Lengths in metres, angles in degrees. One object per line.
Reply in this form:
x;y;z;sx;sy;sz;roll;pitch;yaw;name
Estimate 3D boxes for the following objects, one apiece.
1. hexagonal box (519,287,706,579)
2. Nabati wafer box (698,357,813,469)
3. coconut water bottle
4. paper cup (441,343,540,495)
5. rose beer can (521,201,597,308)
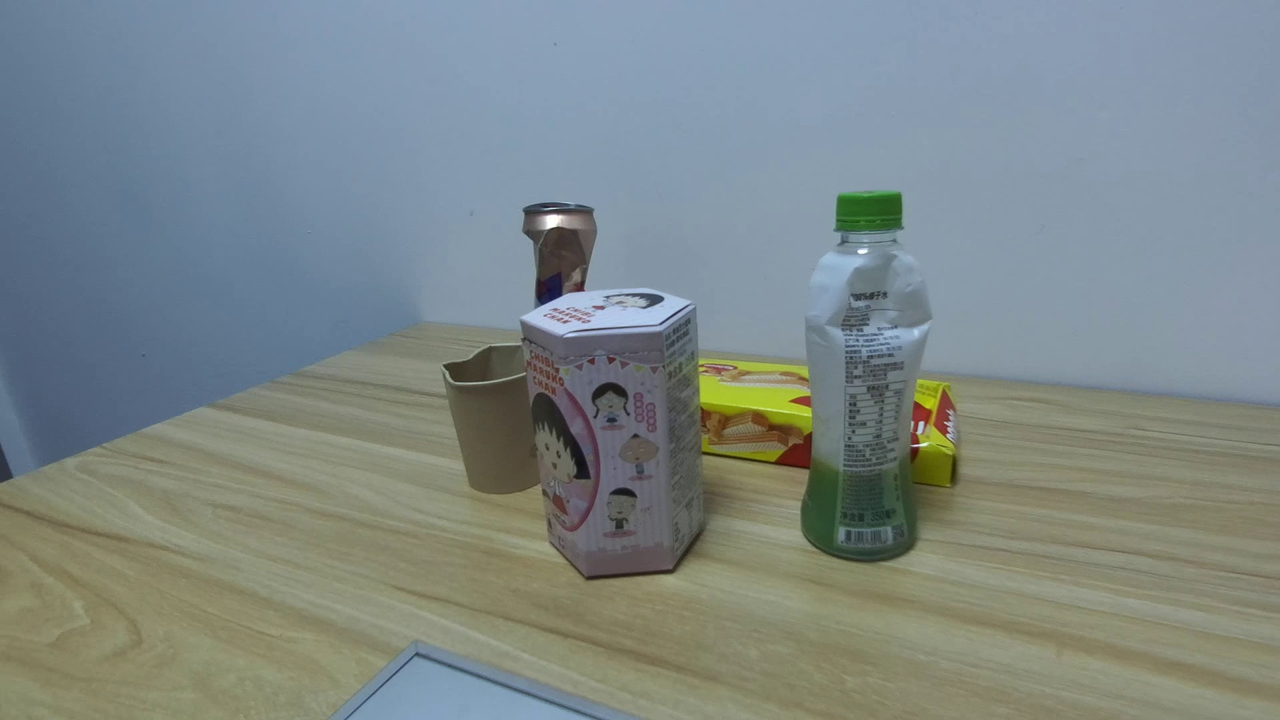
-0.012;0.038;0.382;0.084;0.136;0.091;-15;22;-31;hexagonal box
0.119;0.038;0.507;0.202;0.042;0.097;6;20;22;Nabati wafer box
0.117;0.008;0.367;0.067;0.187;0.067;-3;17;1;coconut water bottle
-0.091;0.040;0.475;0.069;0.081;0.073;-11;20;-22;paper cup
-0.059;-0.040;0.572;0.065;0.167;0.076;1;17;2;rose beer can
